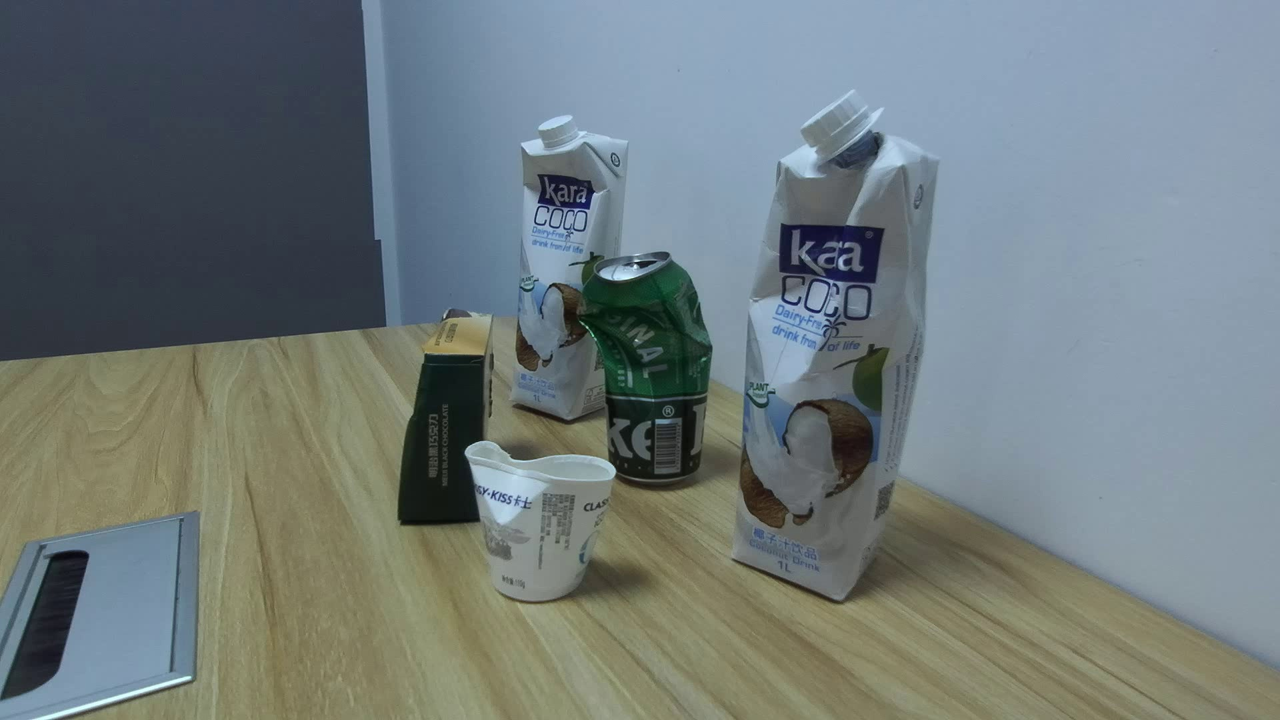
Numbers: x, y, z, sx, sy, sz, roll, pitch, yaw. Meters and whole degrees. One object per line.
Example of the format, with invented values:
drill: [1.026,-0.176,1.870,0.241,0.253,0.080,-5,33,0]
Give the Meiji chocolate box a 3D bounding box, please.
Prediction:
Meiji chocolate box: [-0.126,0.035,0.470,0.058,0.113,0.110,5,18,-11]

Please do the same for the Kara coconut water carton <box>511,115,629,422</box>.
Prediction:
Kara coconut water carton: [-0.059,-0.075,0.597,0.099,0.244,0.071,10,16,32]

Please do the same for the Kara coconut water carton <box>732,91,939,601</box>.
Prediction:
Kara coconut water carton: [0.100,-0.005,0.374,0.079,0.255,0.083,-16,26,-40]

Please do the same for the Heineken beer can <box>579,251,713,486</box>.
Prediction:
Heineken beer can: [0.010,0.007,0.495,0.079,0.159,0.067,-14,18,-23]
